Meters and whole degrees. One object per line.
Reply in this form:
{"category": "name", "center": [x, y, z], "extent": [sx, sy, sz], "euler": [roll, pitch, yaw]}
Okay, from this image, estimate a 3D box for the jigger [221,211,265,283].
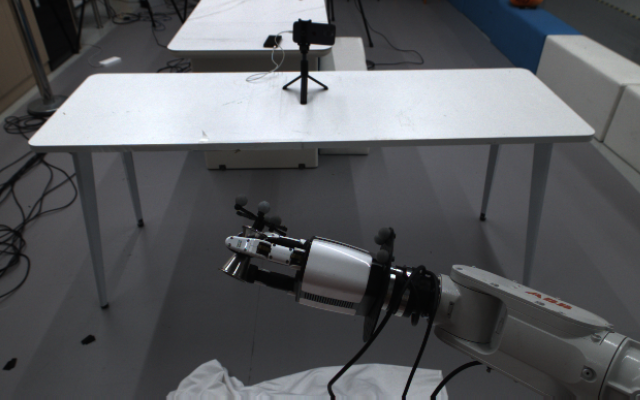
{"category": "jigger", "center": [-0.104, 0.071, 0.655], "extent": [0.043, 0.043, 0.071], "euler": [20, 73, 23]}
